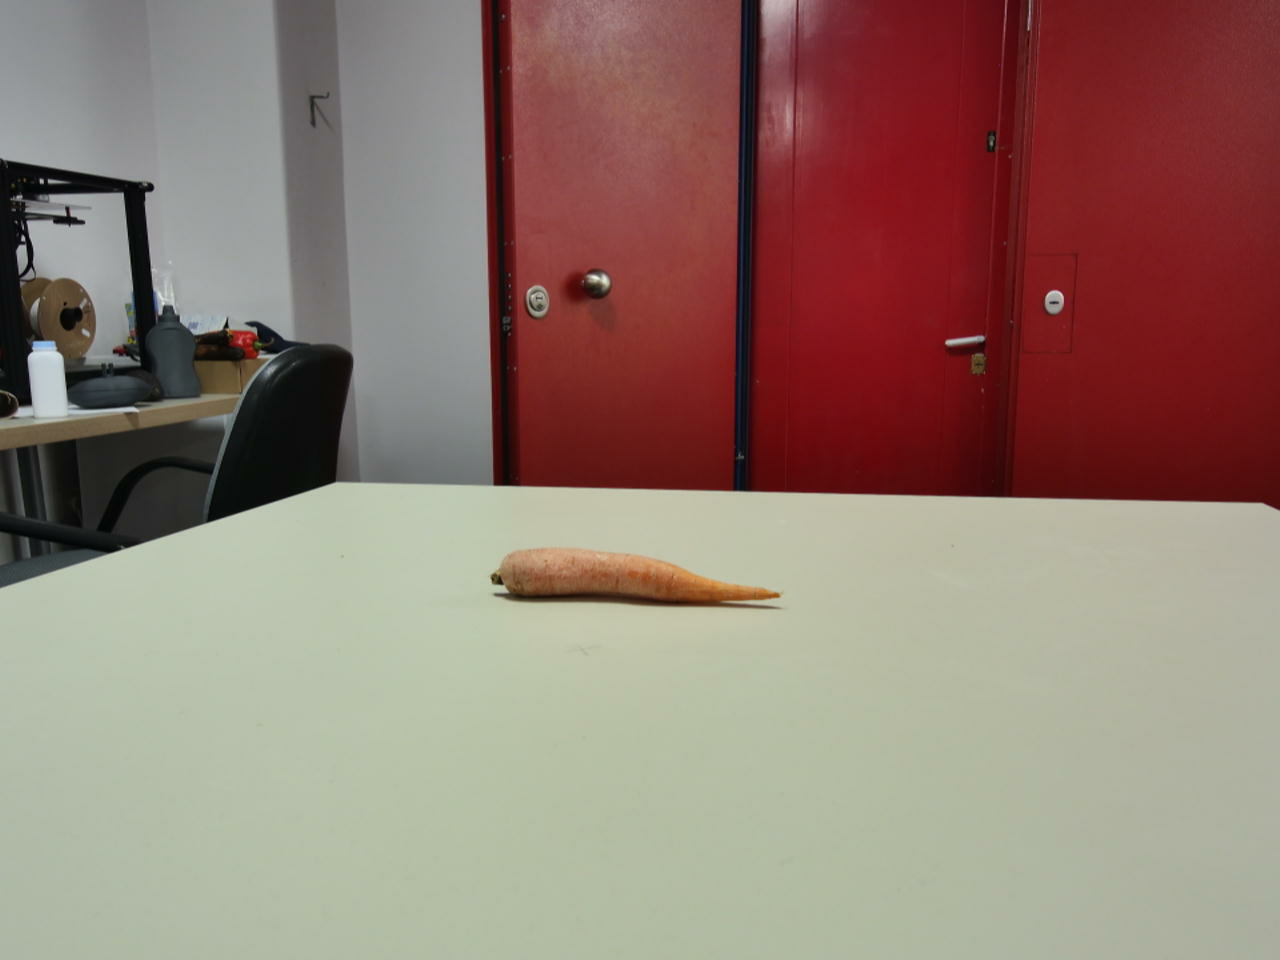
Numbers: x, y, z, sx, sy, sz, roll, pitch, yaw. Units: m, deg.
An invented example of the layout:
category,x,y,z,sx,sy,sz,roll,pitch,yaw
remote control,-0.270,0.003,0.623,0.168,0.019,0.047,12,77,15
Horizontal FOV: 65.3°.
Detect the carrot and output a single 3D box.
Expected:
category,x,y,z,sx,sy,sz,roll,pitch,yaw
carrot,-0.004,0.053,0.552,0.163,0.029,0.031,1,7,11
